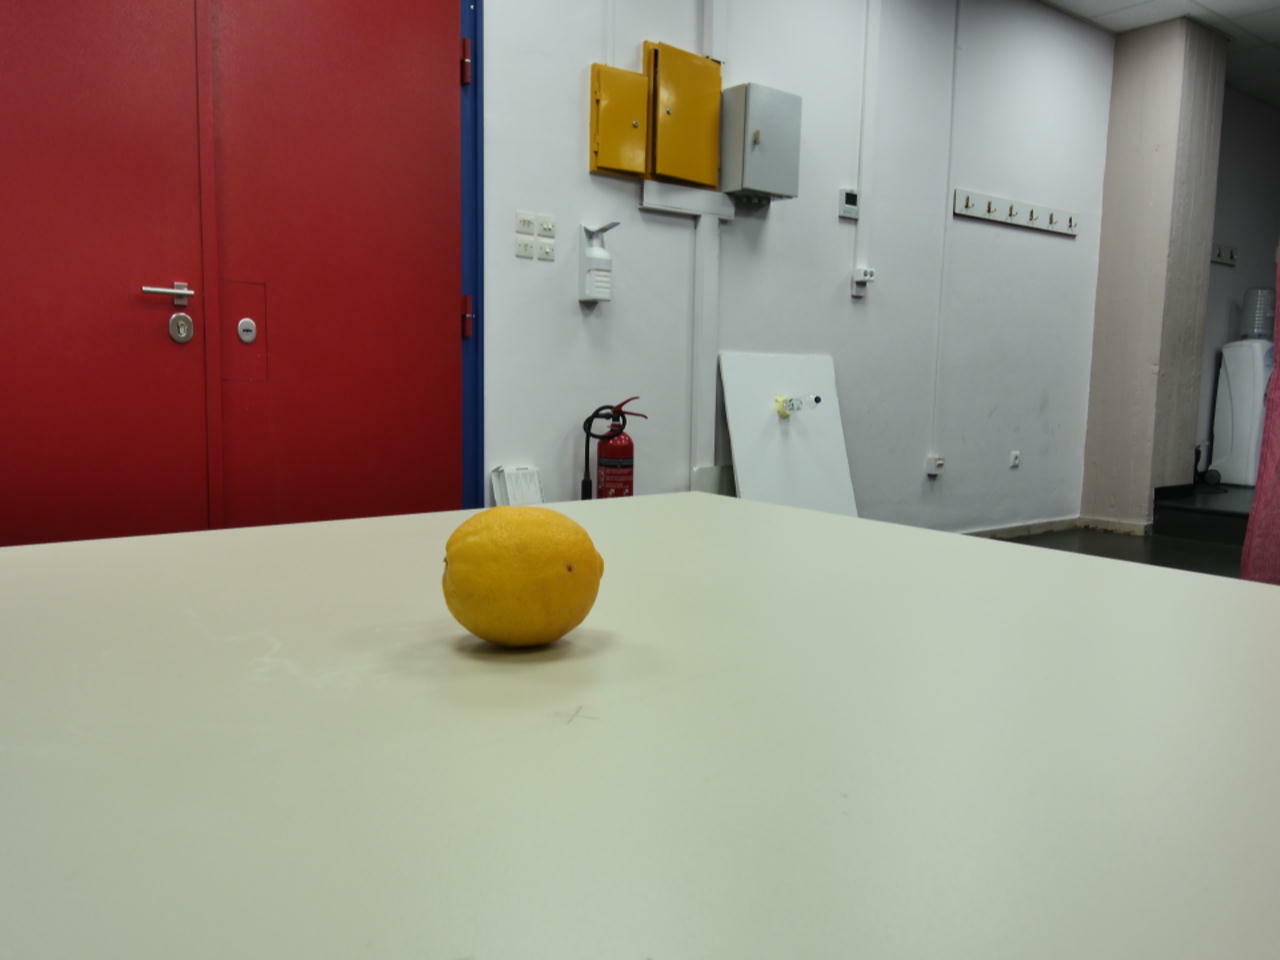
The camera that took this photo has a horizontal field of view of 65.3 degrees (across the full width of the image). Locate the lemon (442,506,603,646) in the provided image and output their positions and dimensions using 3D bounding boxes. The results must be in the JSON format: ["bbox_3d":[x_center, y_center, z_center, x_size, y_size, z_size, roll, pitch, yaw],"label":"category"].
[{"bbox_3d":[-0.051,0.041,0.428,0.067,0.059,0.061,0,4,4],"label":"lemon"}]
